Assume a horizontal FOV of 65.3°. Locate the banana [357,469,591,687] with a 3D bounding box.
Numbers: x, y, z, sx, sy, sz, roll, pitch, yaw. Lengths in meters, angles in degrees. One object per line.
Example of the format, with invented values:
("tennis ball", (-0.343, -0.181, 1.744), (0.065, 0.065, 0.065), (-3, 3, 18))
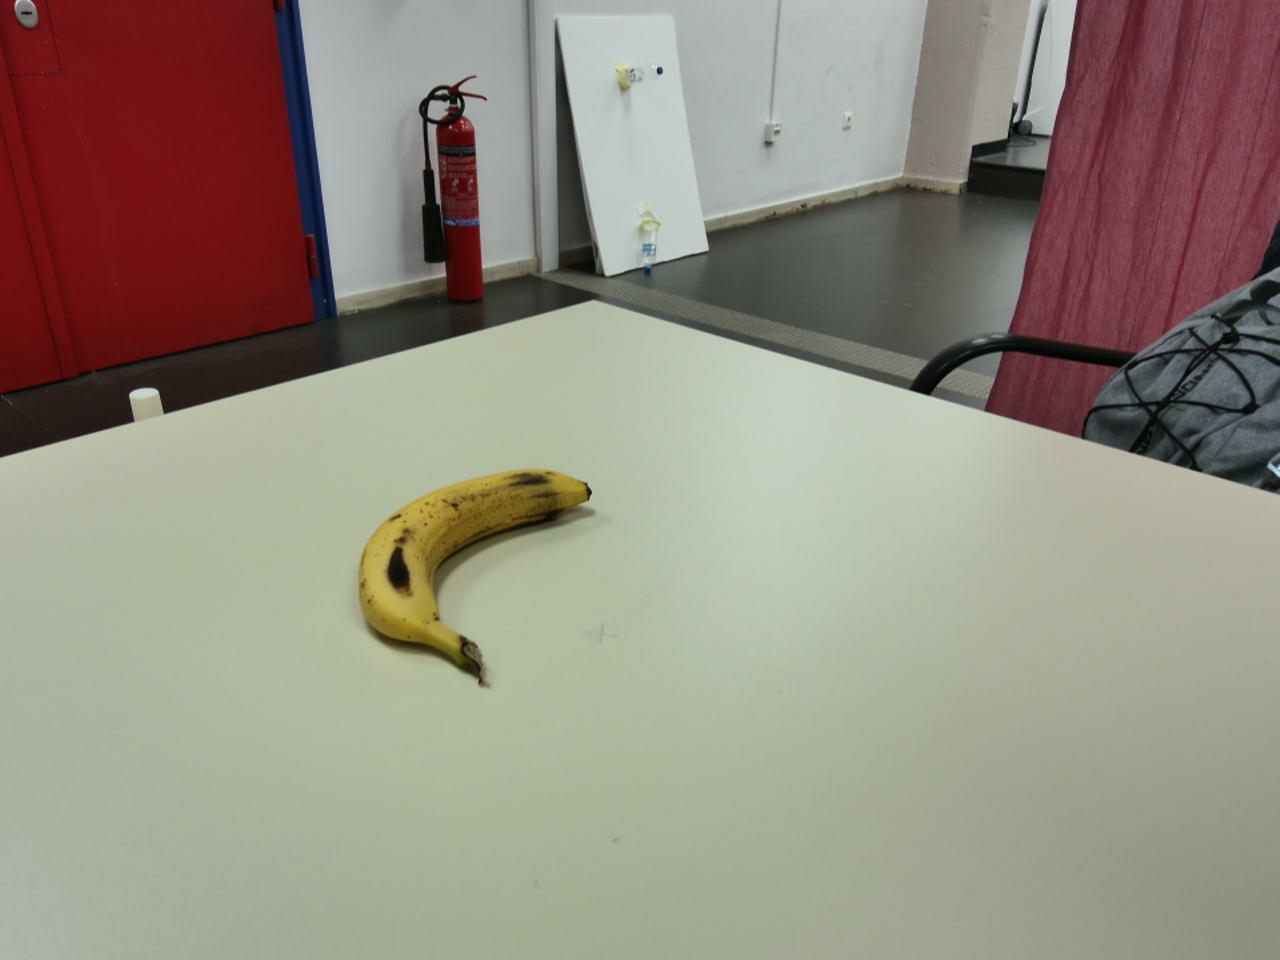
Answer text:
("banana", (-0.098, 0.038, 0.570), (0.097, 0.038, 0.186), (7, 26, 12))
